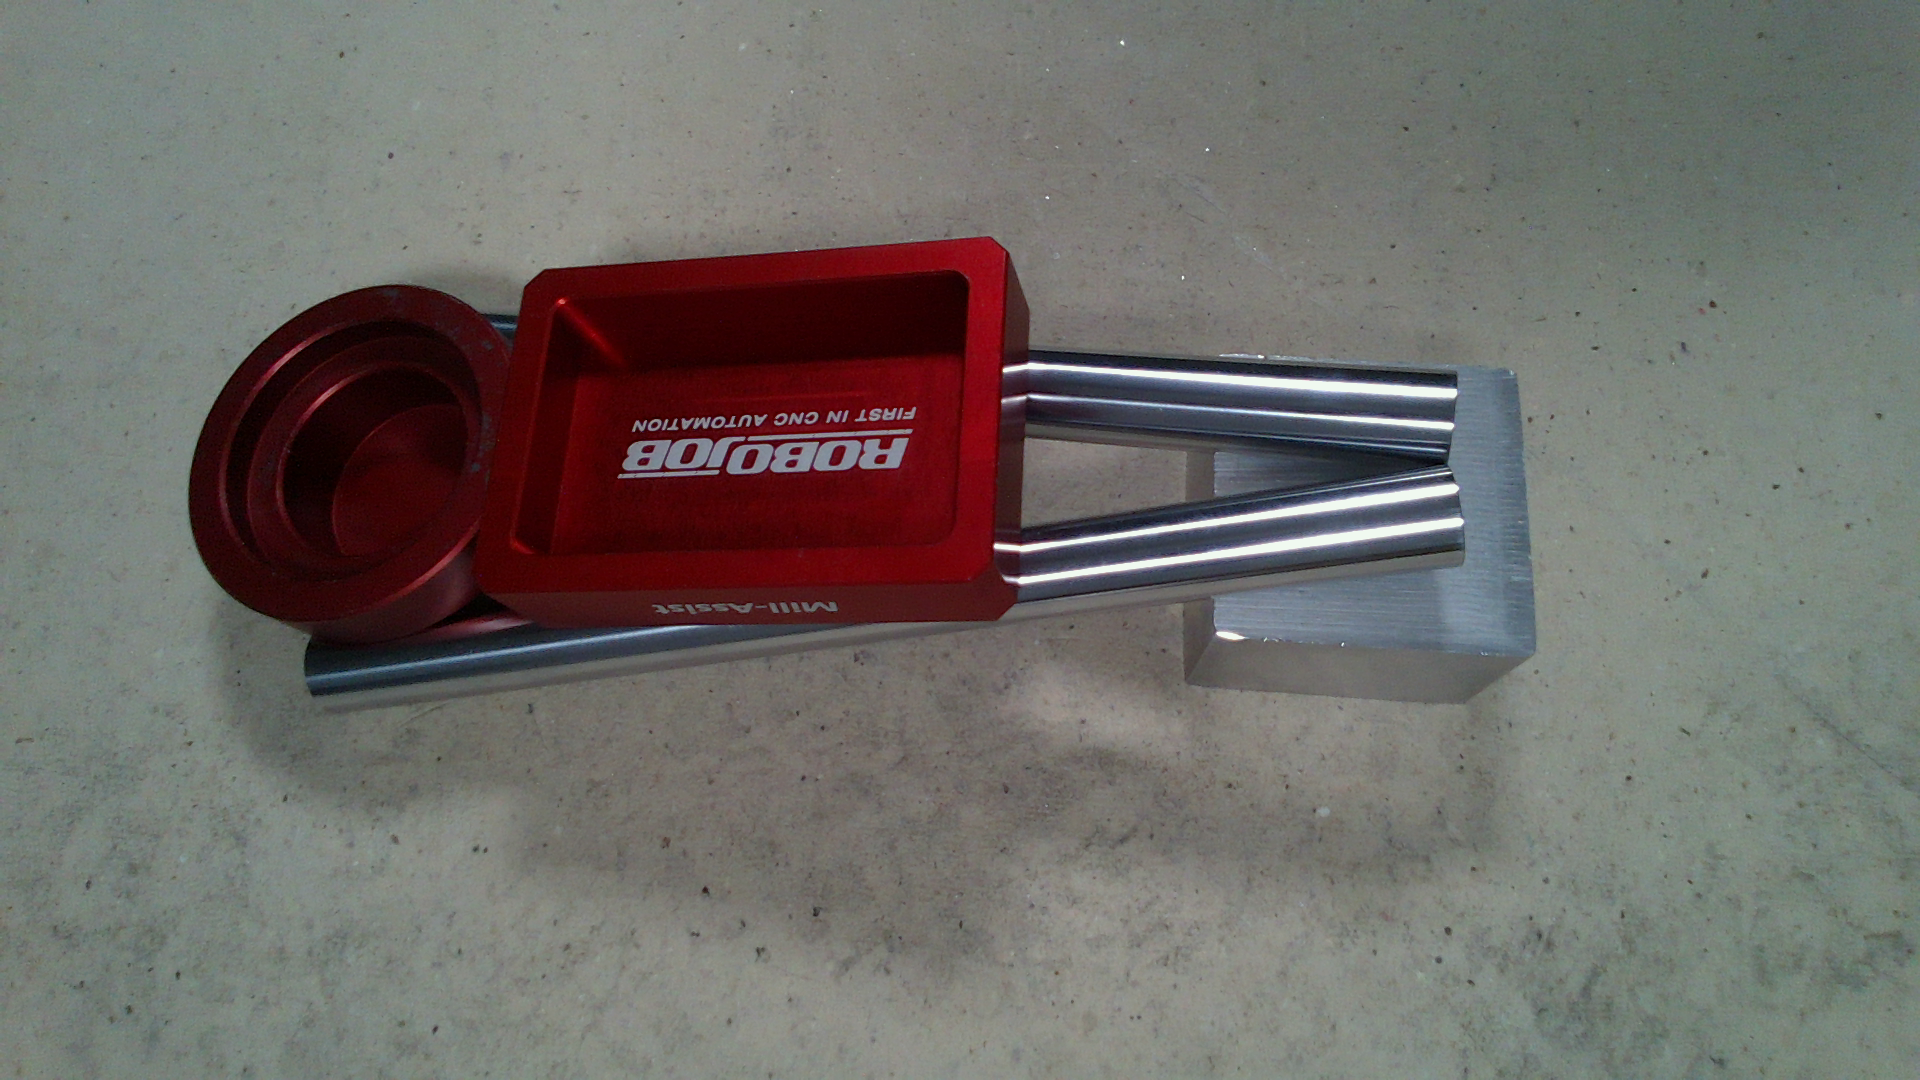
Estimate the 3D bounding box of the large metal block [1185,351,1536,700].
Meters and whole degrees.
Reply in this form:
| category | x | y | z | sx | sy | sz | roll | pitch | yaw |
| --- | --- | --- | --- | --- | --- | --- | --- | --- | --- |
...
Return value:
| category | x | y | z | sx | sy | sz | roll | pitch | yaw |
| --- | --- | --- | --- | --- | --- | --- | --- | --- | --- |
| large metal block | 0.107 | -0.003 | 0.381 | 0.080 | 0.050 | 0.080 | 4 | 70 | 1 |

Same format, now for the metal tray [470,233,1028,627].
| category | x | y | z | sx | sy | sz | roll | pitch | yaw |
| --- | --- | --- | --- | --- | --- | --- | --- | --- | --- |
| metal tray | -0.050 | -0.026 | 0.346 | 0.130 | 0.030 | 0.090 | -2 | 69 | 13 |

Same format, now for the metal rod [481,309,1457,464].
| category | x | y | z | sx | sy | sz | roll | pitch | yaw |
| --- | --- | --- | --- | --- | --- | --- | --- | --- | --- |
| metal rod | -0.023 | -0.045 | 0.376 | 0.299 | 0.025 | 0.025 | 6 | 70 | 16 |

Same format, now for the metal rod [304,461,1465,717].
| category | x | y | z | sx | sy | sz | roll | pitch | yaw |
| --- | --- | --- | --- | --- | --- | --- | --- | --- | --- |
| metal rod | -0.028 | 0.015 | 0.355 | 0.300 | 0.025 | 0.025 | -8 | 70 | 10 |

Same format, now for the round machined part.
| category | x | y | z | sx | sy | sz | roll | pitch | yaw |
| --- | --- | --- | --- | --- | --- | --- | --- | --- | --- |
| round machined part | -0.158 | -0.018 | 0.386 | 0.098 | 0.042 | 0.098 | -4 | 69 | 10 |
